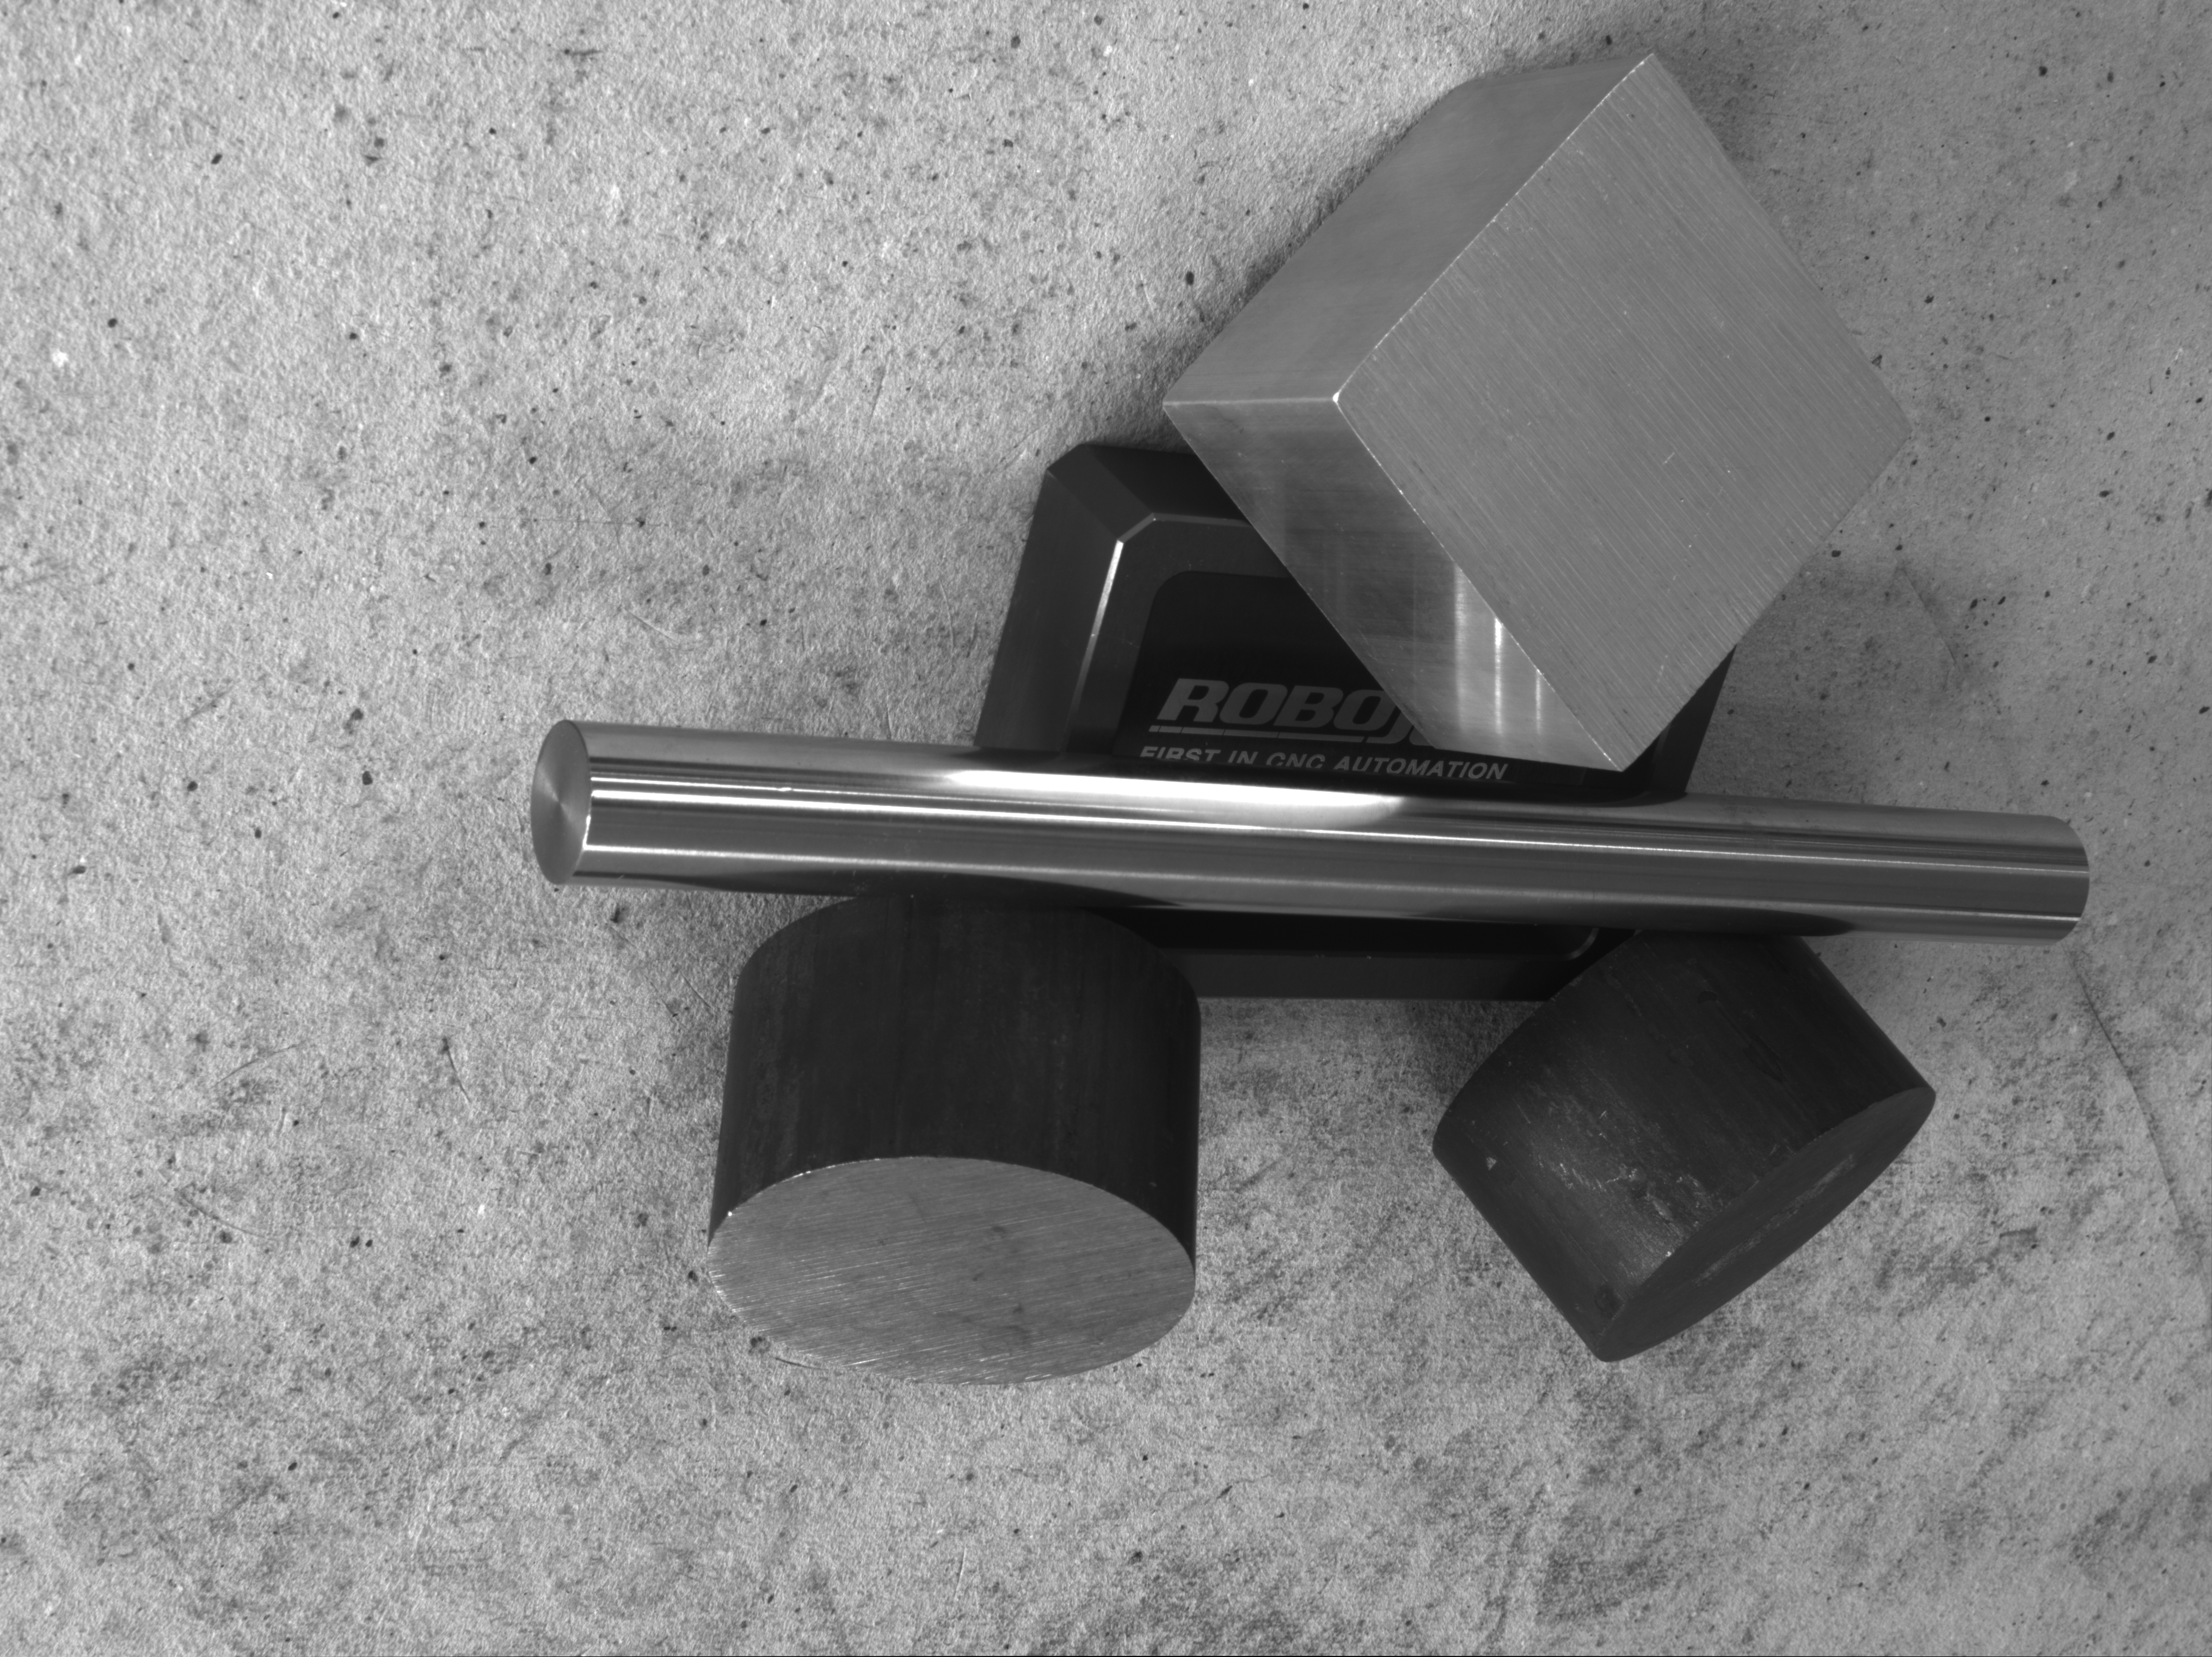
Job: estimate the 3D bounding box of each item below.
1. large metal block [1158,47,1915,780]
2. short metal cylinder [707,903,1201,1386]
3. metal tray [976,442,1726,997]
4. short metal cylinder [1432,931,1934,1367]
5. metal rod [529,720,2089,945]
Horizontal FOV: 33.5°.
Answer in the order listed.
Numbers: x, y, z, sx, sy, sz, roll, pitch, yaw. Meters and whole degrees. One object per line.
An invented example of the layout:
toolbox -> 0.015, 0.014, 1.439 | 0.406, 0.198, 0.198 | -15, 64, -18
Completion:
large metal block -> 0.070, -0.066, 0.592 | 0.080, 0.050, 0.080 | -48, 114, -16
short metal cylinder -> -0.025, 0.053, 0.618 | 0.080, 0.050, 0.080 | 2, 145, 1
metal tray -> 0.043, -0.016, 0.648 | 0.130, 0.030, 0.090 | 2, 117, -29
short metal cylinder -> 0.109, 0.057, 0.694 | 0.080, 0.050, 0.080 | -32, 157, -15
metal rod -> 0.048, 0.003, 0.627 | 0.301, 0.025, 0.025 | 3, 117, -30
